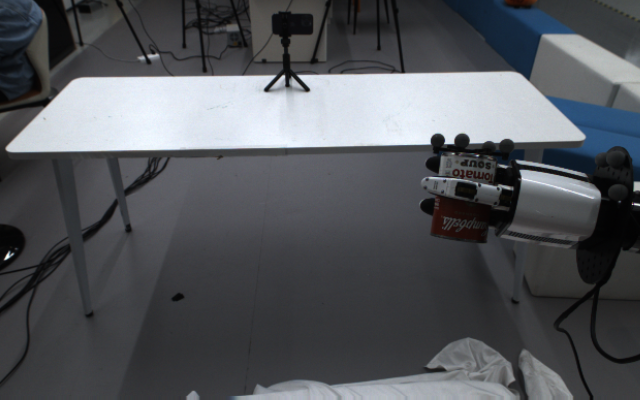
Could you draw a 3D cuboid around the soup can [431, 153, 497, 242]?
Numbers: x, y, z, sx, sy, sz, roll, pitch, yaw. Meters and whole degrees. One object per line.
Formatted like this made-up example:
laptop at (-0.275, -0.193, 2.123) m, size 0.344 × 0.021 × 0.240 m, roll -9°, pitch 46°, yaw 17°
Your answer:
soup can at (0.176, -0.003, 0.586) m, size 0.067 × 0.101 × 0.067 m, roll 7°, pitch 3°, yaw 0°
